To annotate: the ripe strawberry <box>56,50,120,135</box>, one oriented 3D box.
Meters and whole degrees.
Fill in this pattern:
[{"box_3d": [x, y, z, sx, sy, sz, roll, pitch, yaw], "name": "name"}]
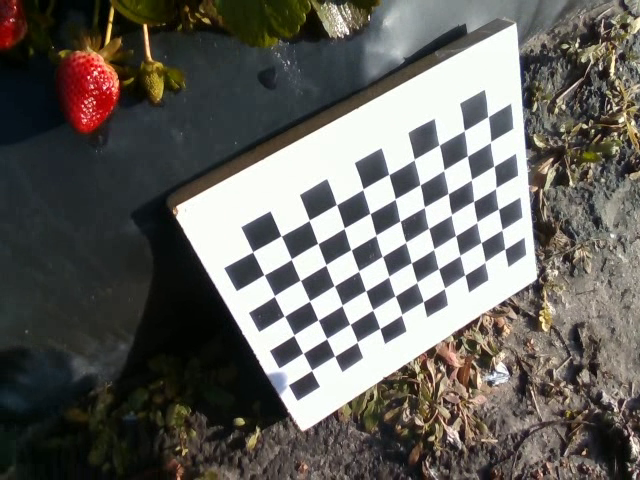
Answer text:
[{"box_3d": [-0.142, -0.090, 0.363, 0.043, 0.053, 0.038, 13, -23, -34], "name": "ripe strawberry"}]
